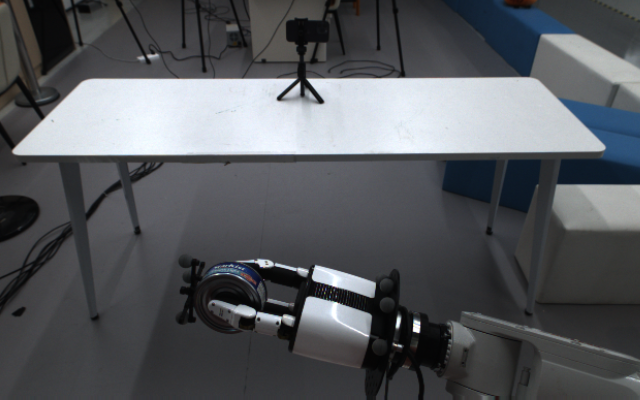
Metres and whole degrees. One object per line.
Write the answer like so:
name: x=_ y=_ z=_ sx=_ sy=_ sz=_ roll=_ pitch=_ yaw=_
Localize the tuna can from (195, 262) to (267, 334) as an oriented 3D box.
tuna can: x=-0.107 y=0.120 z=0.595 sx=0.085 sy=0.085 sz=0.034 roll=4 pitch=18 yaw=3
